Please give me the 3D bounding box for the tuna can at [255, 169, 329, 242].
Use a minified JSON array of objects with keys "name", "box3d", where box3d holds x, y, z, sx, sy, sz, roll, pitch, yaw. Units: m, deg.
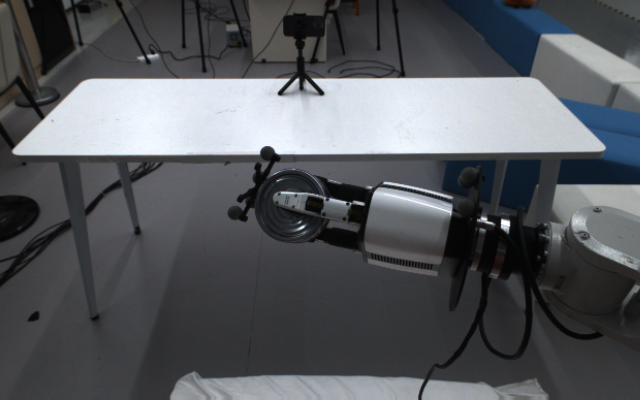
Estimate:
[{"name":"tuna can","box3d":[-0.028,0.006,0.559,0.085,0.085,0.034,9,-4,10]}]
